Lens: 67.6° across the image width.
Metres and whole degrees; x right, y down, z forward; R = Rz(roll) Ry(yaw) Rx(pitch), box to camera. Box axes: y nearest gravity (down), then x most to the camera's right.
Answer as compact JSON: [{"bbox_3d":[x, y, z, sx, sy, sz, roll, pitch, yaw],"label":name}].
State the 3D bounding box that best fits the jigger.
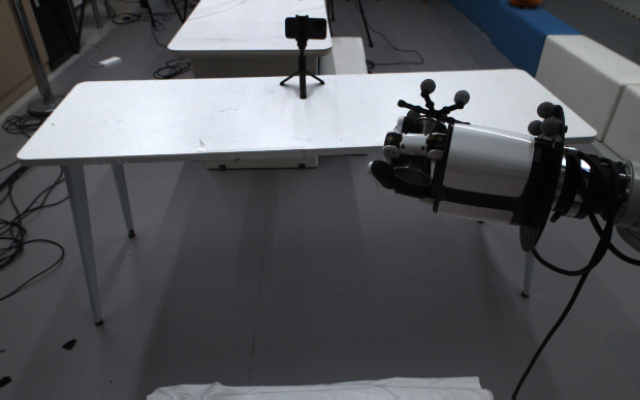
[{"bbox_3d":[0.116,-0.058,0.554,0.043,0.043,0.071,16,70,19],"label":"jigger"}]
